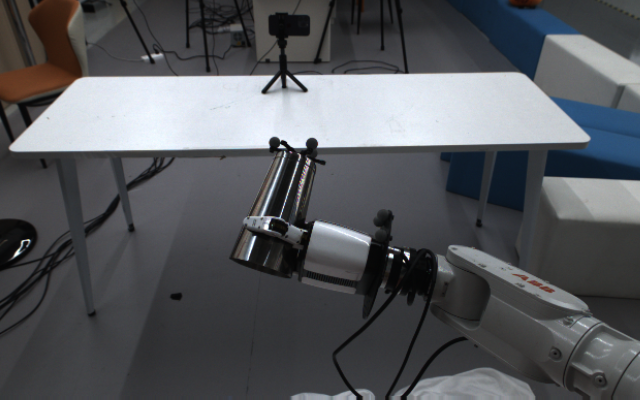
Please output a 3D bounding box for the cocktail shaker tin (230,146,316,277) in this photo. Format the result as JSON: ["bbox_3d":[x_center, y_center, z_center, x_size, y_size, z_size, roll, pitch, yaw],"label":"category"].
[{"bbox_3d":[-0.061,0.018,0.703,0.093,0.093,0.170,13,73,15],"label":"cocktail shaker tin"}]
